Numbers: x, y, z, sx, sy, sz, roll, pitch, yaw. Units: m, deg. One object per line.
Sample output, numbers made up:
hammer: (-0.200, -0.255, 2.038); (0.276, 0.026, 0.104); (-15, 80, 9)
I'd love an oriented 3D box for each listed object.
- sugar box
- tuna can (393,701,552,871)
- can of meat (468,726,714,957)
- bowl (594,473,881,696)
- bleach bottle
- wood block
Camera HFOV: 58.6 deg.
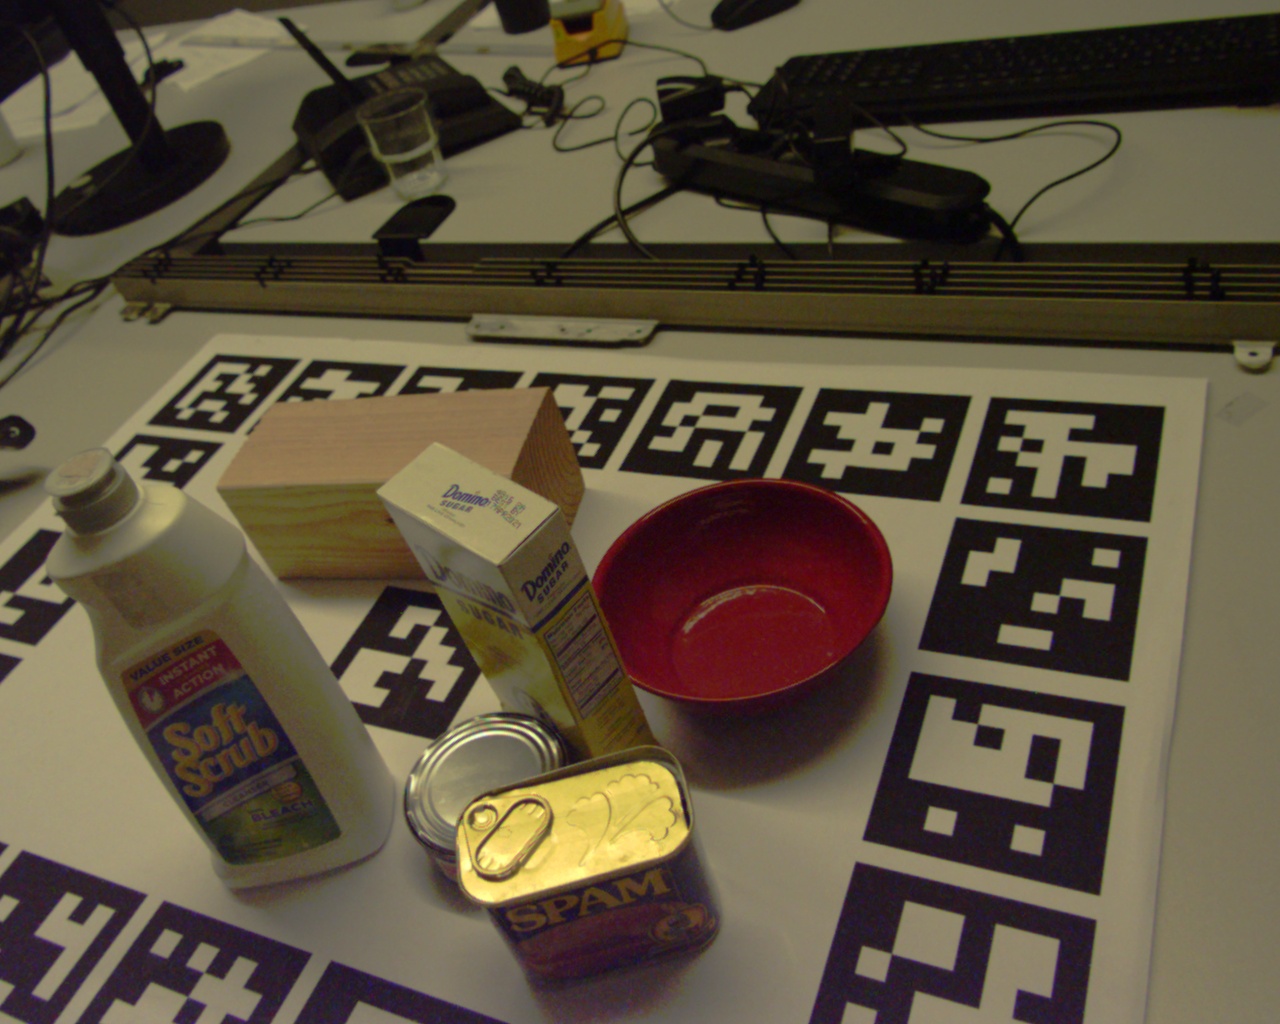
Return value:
sugar box: (-0.058, 0.054, 0.586); (0.094, 0.175, 0.045); (23, 57, 42)
tuna can: (-0.084, 0.145, 0.603); (0.086, 0.033, 0.086); (-12, 44, 11)
can of meat: (-0.020, 0.157, 0.538); (0.102, 0.083, 0.058); (-15, 37, 2)
bowl: (0.058, 0.050, 0.643); (0.162, 0.055, 0.162); (-14, 39, 11)
bleach bottle: (-0.207, 0.077, 0.565); (0.103, 0.249, 0.068); (-13, 40, 7)
wood block: (-0.163, -0.015, 0.776); (0.208, 0.089, 0.091); (-1, 48, 18)
